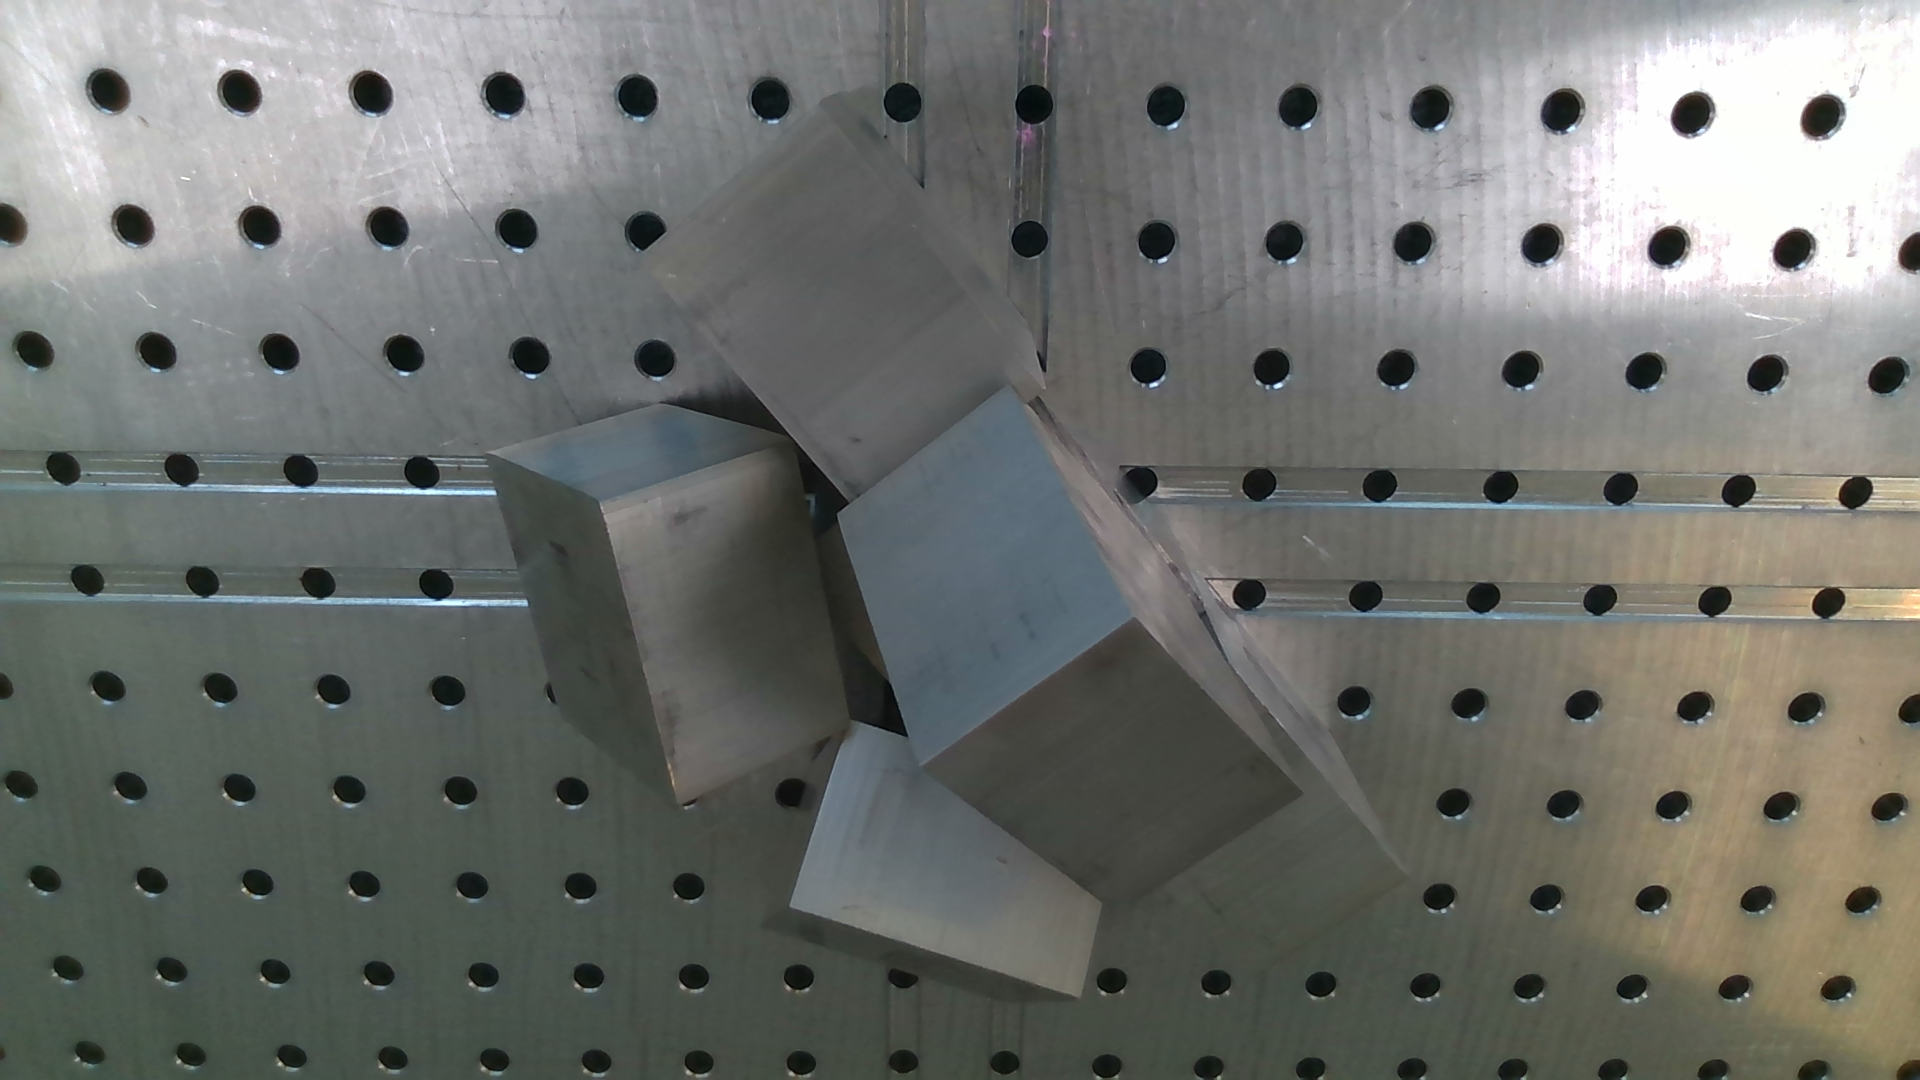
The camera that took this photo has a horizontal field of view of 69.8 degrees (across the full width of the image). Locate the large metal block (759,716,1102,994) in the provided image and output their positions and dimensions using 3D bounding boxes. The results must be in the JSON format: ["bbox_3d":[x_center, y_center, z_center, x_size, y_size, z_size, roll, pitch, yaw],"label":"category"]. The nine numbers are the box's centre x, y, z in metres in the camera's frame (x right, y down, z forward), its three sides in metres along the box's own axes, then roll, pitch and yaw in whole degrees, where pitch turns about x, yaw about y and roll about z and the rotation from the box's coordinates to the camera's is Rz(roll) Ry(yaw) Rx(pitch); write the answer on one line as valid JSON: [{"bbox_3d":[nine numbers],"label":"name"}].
[{"bbox_3d":[-0.009,0.094,0.393,0.080,0.080,0.050,19,68,-7],"label":"large metal block"}]

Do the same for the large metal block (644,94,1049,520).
[{"bbox_3d":[-0.024,-0.062,0.342,0.050,0.080,0.080,-37,106,12],"label":"large metal block"}]

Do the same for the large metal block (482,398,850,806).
[{"bbox_3d":[-0.078,0.012,0.363,0.050,0.080,0.080,-22,113,-31],"label":"large metal block"}]

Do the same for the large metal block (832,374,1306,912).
[{"bbox_3d":[0.023,0.023,0.308,0.050,0.080,0.080,-36,131,12],"label":"large metal block"}]

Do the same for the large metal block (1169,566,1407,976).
[{"bbox_3d":[0.071,0.059,0.388,0.050,0.080,0.080,-38,106,13],"label":"large metal block"}]

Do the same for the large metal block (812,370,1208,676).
[{"bbox_3d":[0.009,0.003,0.385,0.080,0.050,0.080,-38,106,13],"label":"large metal block"}]
